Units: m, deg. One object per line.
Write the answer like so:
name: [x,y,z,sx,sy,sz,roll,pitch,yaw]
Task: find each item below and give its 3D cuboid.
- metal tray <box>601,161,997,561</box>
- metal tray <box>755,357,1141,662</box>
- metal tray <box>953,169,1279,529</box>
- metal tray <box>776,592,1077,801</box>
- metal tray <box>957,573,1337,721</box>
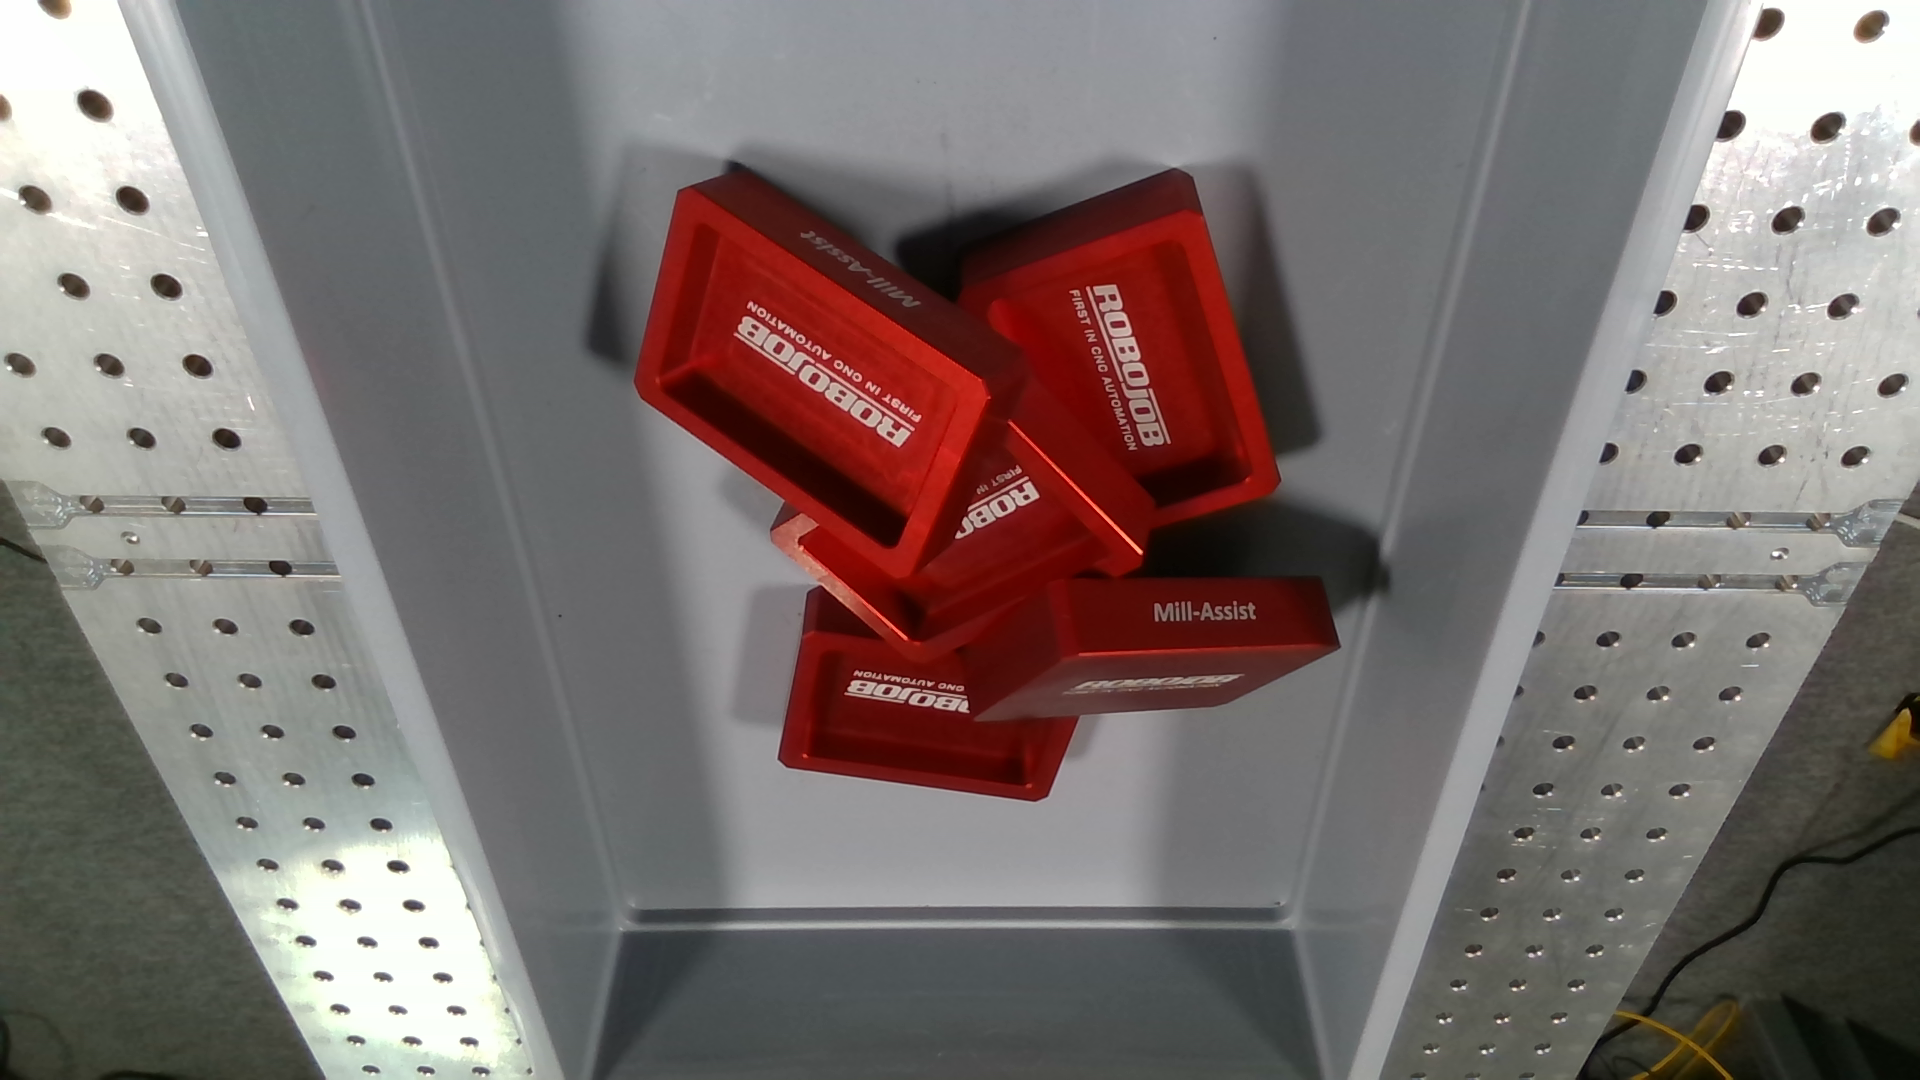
metal tray: [-0.061,-0.062,0.484,0.130,0.030,0.090,31,129,11]
metal tray: [-0.007,-0.008,0.539,0.130,0.030,0.090,-28,119,39]
metal tray: [0.061,-0.064,0.521,0.090,0.030,0.130,-16,128,13]
metal tray: [-0.014,0.073,0.635,0.130,0.030,0.090,10,129,-8]
metal tray: [0.075,0.044,0.567,0.130,0.030,0.090,0,156,-25]
